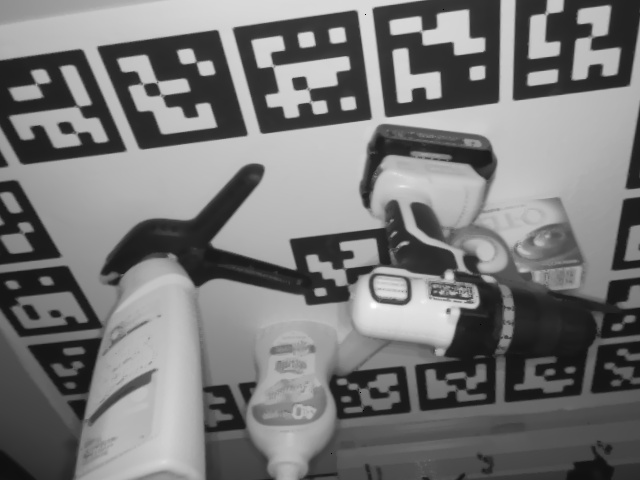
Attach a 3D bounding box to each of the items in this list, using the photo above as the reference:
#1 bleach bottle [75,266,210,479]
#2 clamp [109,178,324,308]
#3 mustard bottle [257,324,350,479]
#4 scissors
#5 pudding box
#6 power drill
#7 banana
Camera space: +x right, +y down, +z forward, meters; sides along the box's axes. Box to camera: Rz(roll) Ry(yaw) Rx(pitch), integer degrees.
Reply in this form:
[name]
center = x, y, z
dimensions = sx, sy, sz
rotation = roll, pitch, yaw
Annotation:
[bleach bottle]
center = -0.148, 0.110, 0.615
dimensions = 0.102, 0.252, 0.068
rotation = -26, 128, 11
[clamp]
center = -0.114, 0.028, 0.685
dimensions = 0.202, 0.037, 0.165
rotation = -12, 126, 11
[mustard bottle]
center = -0.017, 0.175, 0.729
dimensions = 0.096, 0.193, 0.058
rotation = 5, 129, -2
[scissors]
center = 0.209, 0.056, 0.613
dimensions = 0.203, 0.016, 0.086
rotation = 15, 123, -6
[pudding box]
center = 0.200, 0.011, 0.660
dimensions = 0.114, 0.091, 0.038
rotation = -3, 135, 3
[power drill]
center = 0.127, 0.003, 0.553
dimensions = 0.185, 0.188, 0.057
rotation = 2, 135, -5
[banana]
center = 0.093, 0.131, 0.780
dimensions = 0.075, 0.039, 0.194
rotation = 24, 126, -39
